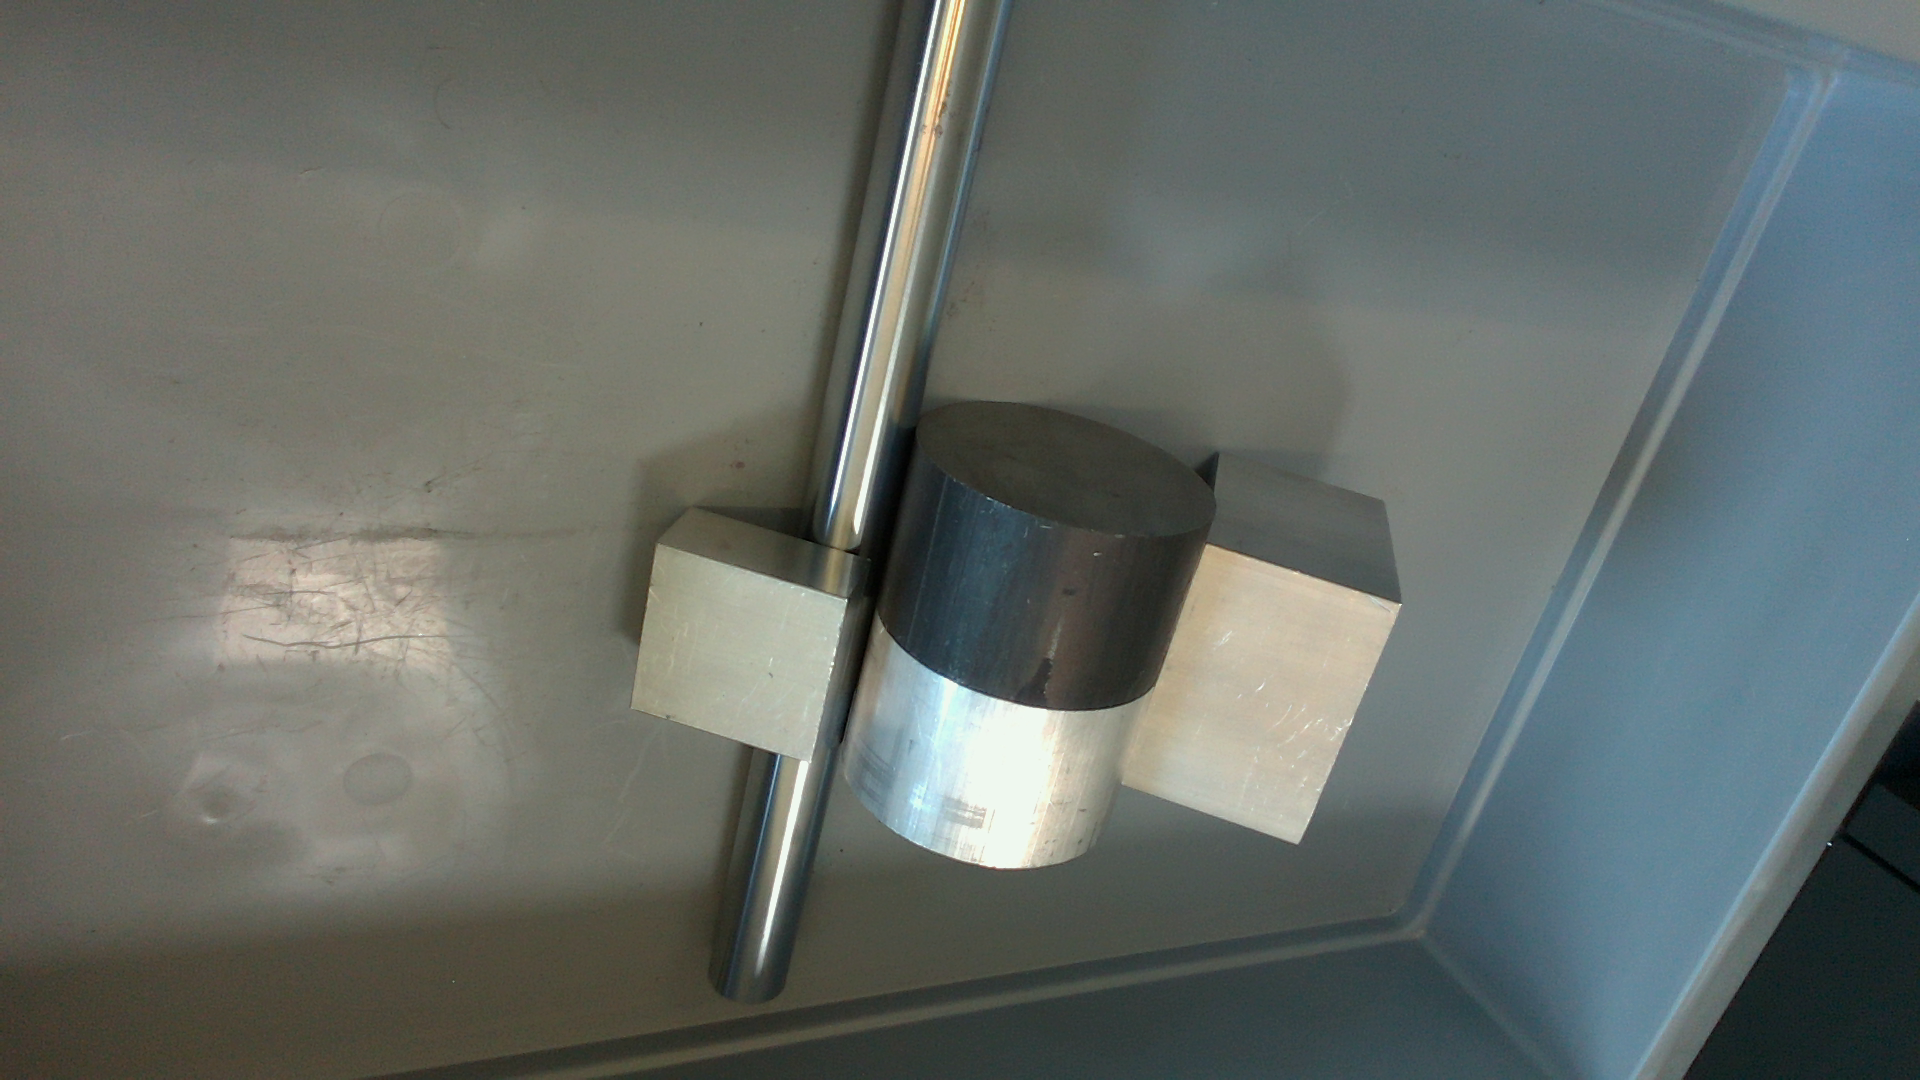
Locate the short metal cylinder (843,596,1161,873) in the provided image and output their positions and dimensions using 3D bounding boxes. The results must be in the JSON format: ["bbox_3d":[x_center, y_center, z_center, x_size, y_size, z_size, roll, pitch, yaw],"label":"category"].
[{"bbox_3d":[0.011,0.047,0.386,0.080,0.080,0.050,0,118,-29],"label":"short metal cylinder"}]

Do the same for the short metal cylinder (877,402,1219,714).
[{"bbox_3d":[0.022,0.002,0.365,0.080,0.080,0.050,0,118,-29],"label":"short metal cylinder"}]

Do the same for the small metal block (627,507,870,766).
[{"bbox_3d":[-0.055,0.025,0.358,0.050,0.025,0.050,16,114,3],"label":"small metal block"}]

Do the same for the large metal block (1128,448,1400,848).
[{"bbox_3d":[0.088,0.029,0.408,0.050,0.080,0.080,18,115,6],"label":"large metal block"}]

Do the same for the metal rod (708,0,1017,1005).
[{"bbox_3d":[-0.033,0.006,0.372,0.025,0.025,0.300,0,118,-28],"label":"metal rod"}]
